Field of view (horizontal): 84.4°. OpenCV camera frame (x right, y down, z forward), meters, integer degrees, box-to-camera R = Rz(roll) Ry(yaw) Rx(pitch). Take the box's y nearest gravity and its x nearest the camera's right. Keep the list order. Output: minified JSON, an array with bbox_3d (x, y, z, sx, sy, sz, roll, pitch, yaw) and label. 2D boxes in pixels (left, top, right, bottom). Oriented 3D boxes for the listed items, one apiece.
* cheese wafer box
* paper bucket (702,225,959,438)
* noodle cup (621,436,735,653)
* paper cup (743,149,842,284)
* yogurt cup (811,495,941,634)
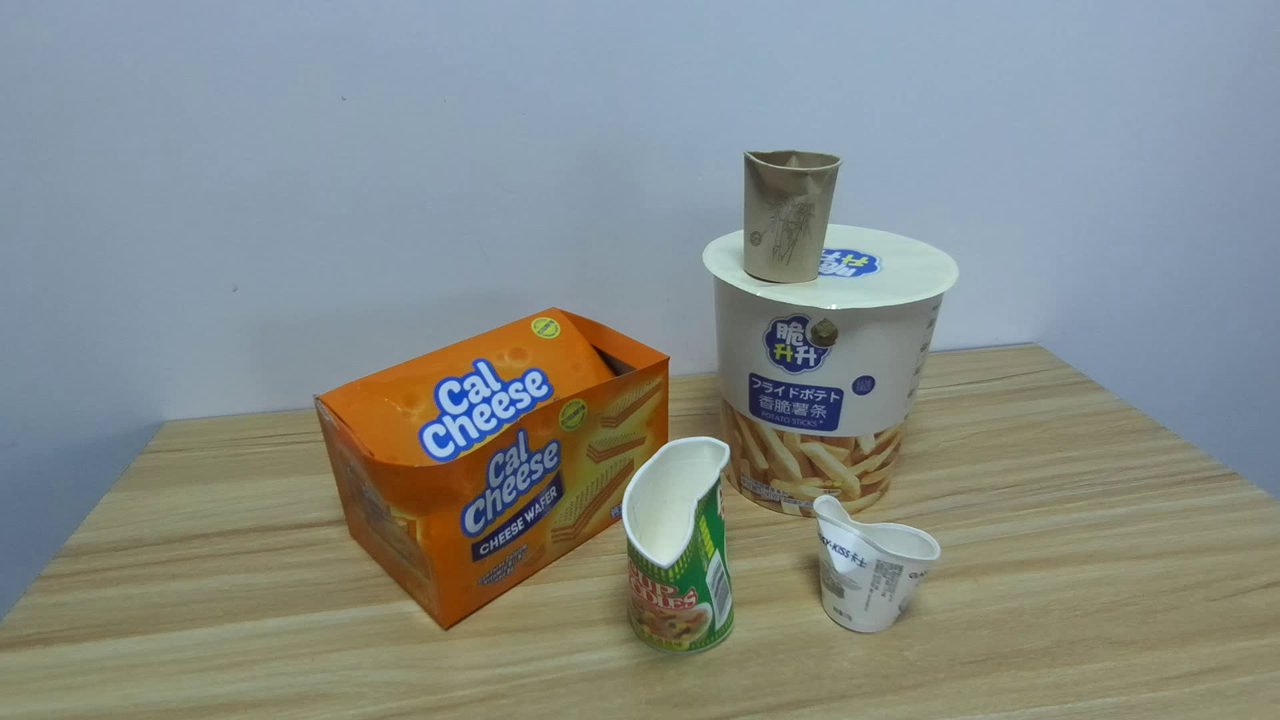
[{"bbox_3d":[-0.104,0.070,0.546,0.231,0.132,0.151,-24,36,-39],"label":"cheese wafer box"},{"bbox_3d":[0.143,0.007,0.581,0.198,0.195,0.198,-1,28,1],"label":"paper bucket"},{"bbox_3d":[0.028,0.122,0.450,0.070,0.111,0.115,23,35,36],"label":"noodle cup"},{"bbox_3d":[0.107,-0.101,0.494,0.072,0.084,0.066,-16,30,-35],"label":"paper cup"},{"bbox_3d":[0.150,0.134,0.465,0.075,0.071,0.054,6,29,12],"label":"yogurt cup"}]
